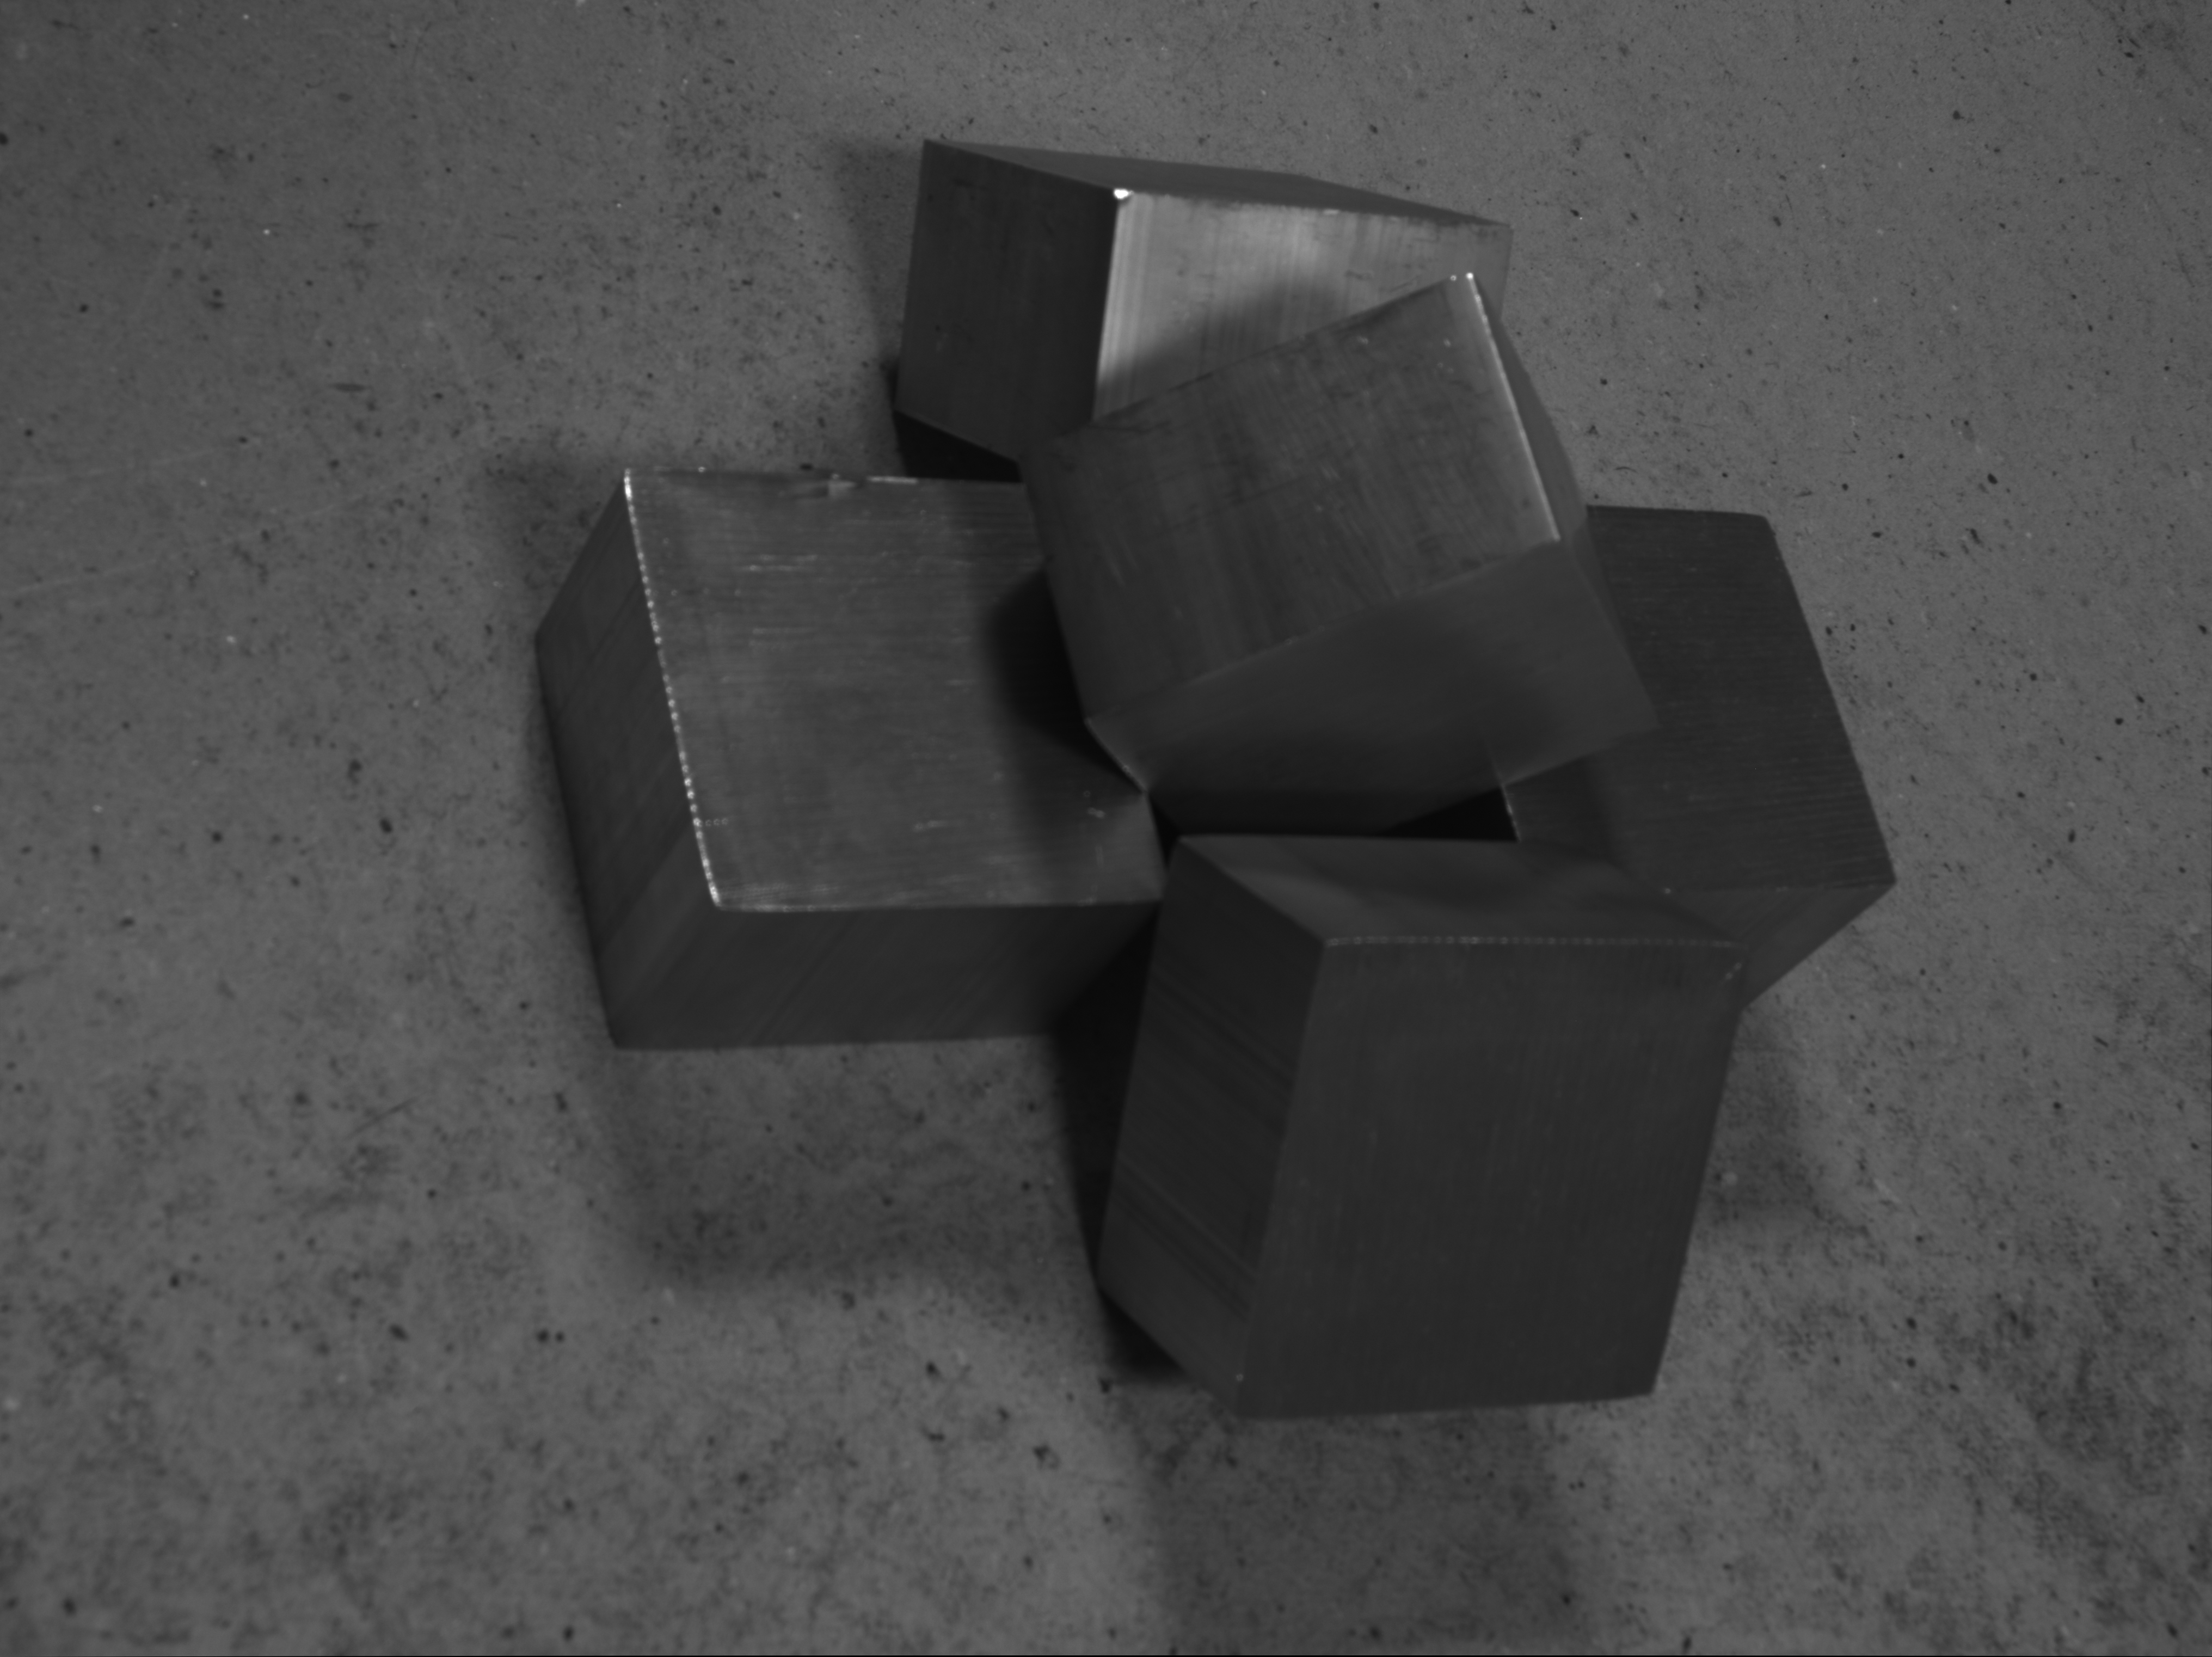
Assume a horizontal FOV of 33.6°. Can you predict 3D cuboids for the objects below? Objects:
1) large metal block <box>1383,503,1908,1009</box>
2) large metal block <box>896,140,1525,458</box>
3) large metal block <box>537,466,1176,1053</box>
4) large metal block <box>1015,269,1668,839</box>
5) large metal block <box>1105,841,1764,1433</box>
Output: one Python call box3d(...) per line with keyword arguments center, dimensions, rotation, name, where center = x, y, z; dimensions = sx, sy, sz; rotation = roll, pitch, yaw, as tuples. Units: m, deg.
box3d(center=(0.090, -0.013, 0.676), dimensions=(0.080, 0.050, 0.080), rotation=(0, 62, -28), name="large metal block")
box3d(center=(0.017, -0.092, 0.662), dimensions=(0.080, 0.080, 0.050), rotation=(0, 105, -28), name="large metal block")
box3d(center=(-0.042, -0.011, 0.608), dimensions=(0.080, 0.050, 0.080), rotation=(0, 62, -28), name="large metal block")
box3d(center=(0.041, -0.039, 0.608), dimensions=(0.080, 0.080, 0.050), rotation=(-20, 65, 12), name="large metal block")
box3d(center=(0.052, 0.048, 0.595), dimensions=(0.080, 0.080, 0.050), rotation=(1, 18, -27), name="large metal block")
